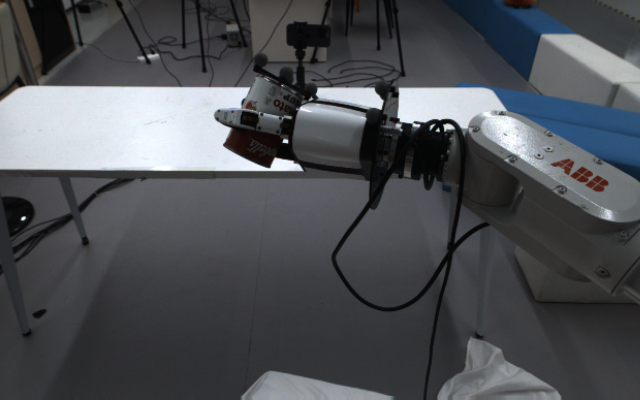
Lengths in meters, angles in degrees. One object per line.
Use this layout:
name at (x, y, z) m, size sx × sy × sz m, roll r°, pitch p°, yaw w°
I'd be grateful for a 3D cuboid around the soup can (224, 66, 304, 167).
soup can at (-0.072, -0.101, 0.621) m, size 0.067 × 0.101 × 0.067 m, roll 26°, pitch 6°, yaw -3°
